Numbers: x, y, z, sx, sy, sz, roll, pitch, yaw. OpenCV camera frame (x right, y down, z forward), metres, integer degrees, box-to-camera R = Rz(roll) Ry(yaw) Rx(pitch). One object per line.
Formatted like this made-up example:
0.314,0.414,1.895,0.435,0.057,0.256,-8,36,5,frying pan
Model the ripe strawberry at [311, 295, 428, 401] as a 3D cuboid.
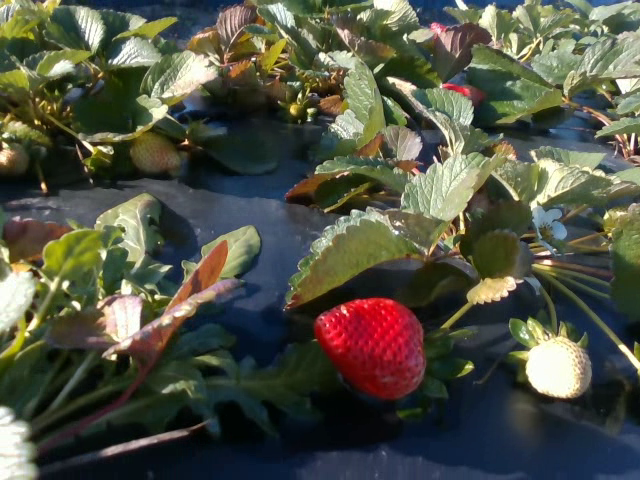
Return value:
0.015,0.034,0.206,0.053,0.044,0.036,21,-33,-33,ripe strawberry
